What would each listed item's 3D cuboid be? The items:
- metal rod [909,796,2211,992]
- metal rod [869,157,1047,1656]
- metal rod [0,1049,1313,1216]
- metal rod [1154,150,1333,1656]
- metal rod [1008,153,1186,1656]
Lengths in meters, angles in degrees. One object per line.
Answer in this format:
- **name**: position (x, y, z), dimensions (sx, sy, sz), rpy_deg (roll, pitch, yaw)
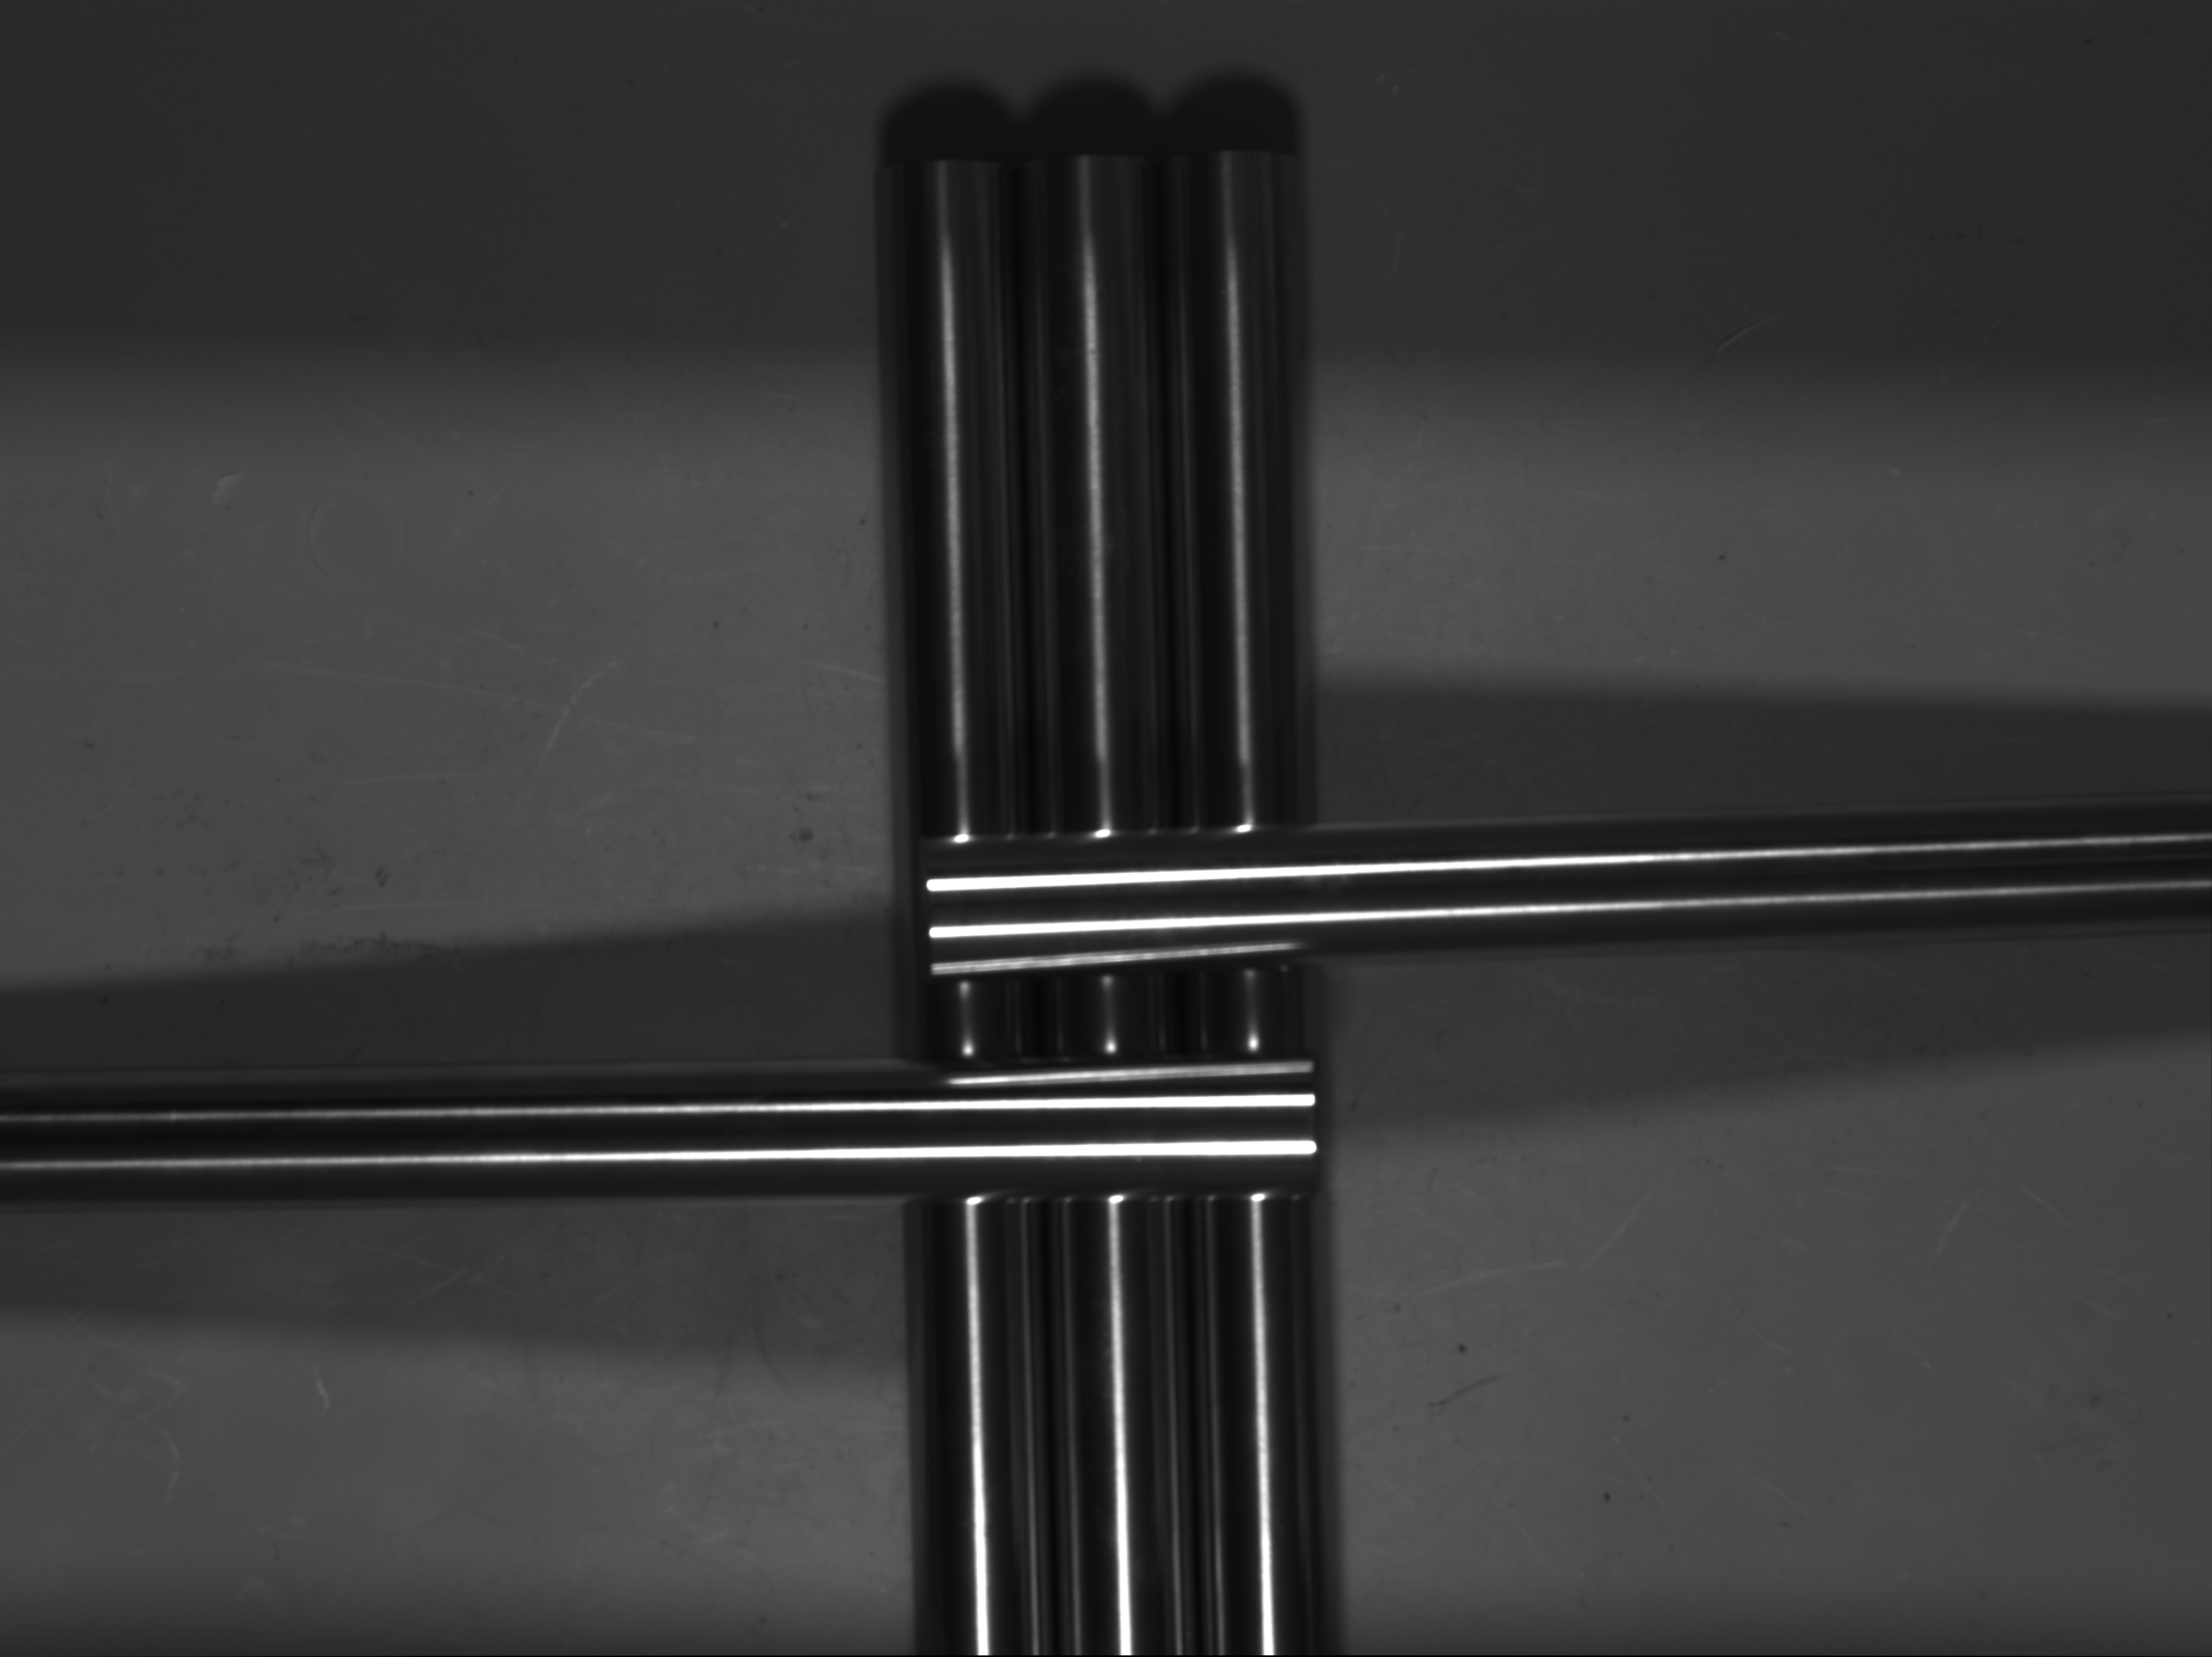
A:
- **metal rod**: position (0.117, 0.009, 0.628), dimensions (0.300, 0.025, 0.025), rpy_deg (-2, 90, -7)
- **metal rod**: position (-0.025, 0.034, 0.644), dimensions (0.025, 0.025, 0.300), rpy_deg (-1, 90, 0)
- **metal rod**: position (-0.115, 0.053, 0.627), dimensions (0.300, 0.025, 0.025), rpy_deg (-1, 90, 6)
- **metal rod**: position (0.025, 0.033, 0.644), dimensions (0.025, 0.025, 0.300), rpy_deg (-1, 90, 0)
- **metal rod**: position (-0.001, 0.033, 0.644), dimensions (0.025, 0.025, 0.300), rpy_deg (-1, 90, 0)
